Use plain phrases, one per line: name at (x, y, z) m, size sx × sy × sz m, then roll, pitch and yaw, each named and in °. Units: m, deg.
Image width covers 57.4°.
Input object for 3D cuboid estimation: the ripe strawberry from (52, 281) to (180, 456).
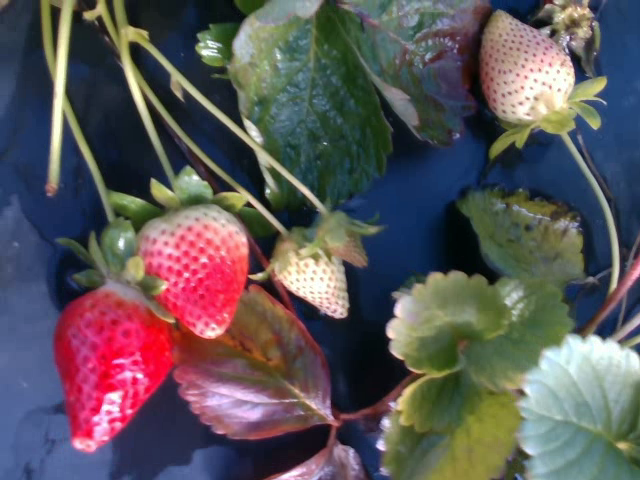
ripe strawberry at (-0.072, 0.043, 0.189) m, size 0.045 × 0.055 × 0.041 m, roll -9°, pitch -36°, yaw 27°
